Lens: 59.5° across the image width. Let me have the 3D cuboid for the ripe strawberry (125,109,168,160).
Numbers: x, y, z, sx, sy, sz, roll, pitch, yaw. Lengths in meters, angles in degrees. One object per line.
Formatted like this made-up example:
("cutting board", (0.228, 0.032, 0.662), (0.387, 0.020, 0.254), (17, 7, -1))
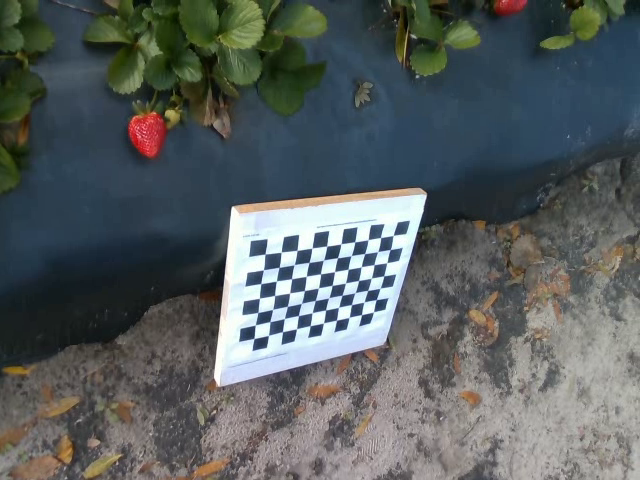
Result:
("ripe strawberry", (-0.189, -0.113, 0.614), (0.045, 0.058, 0.050), (-4, -17, -31))
